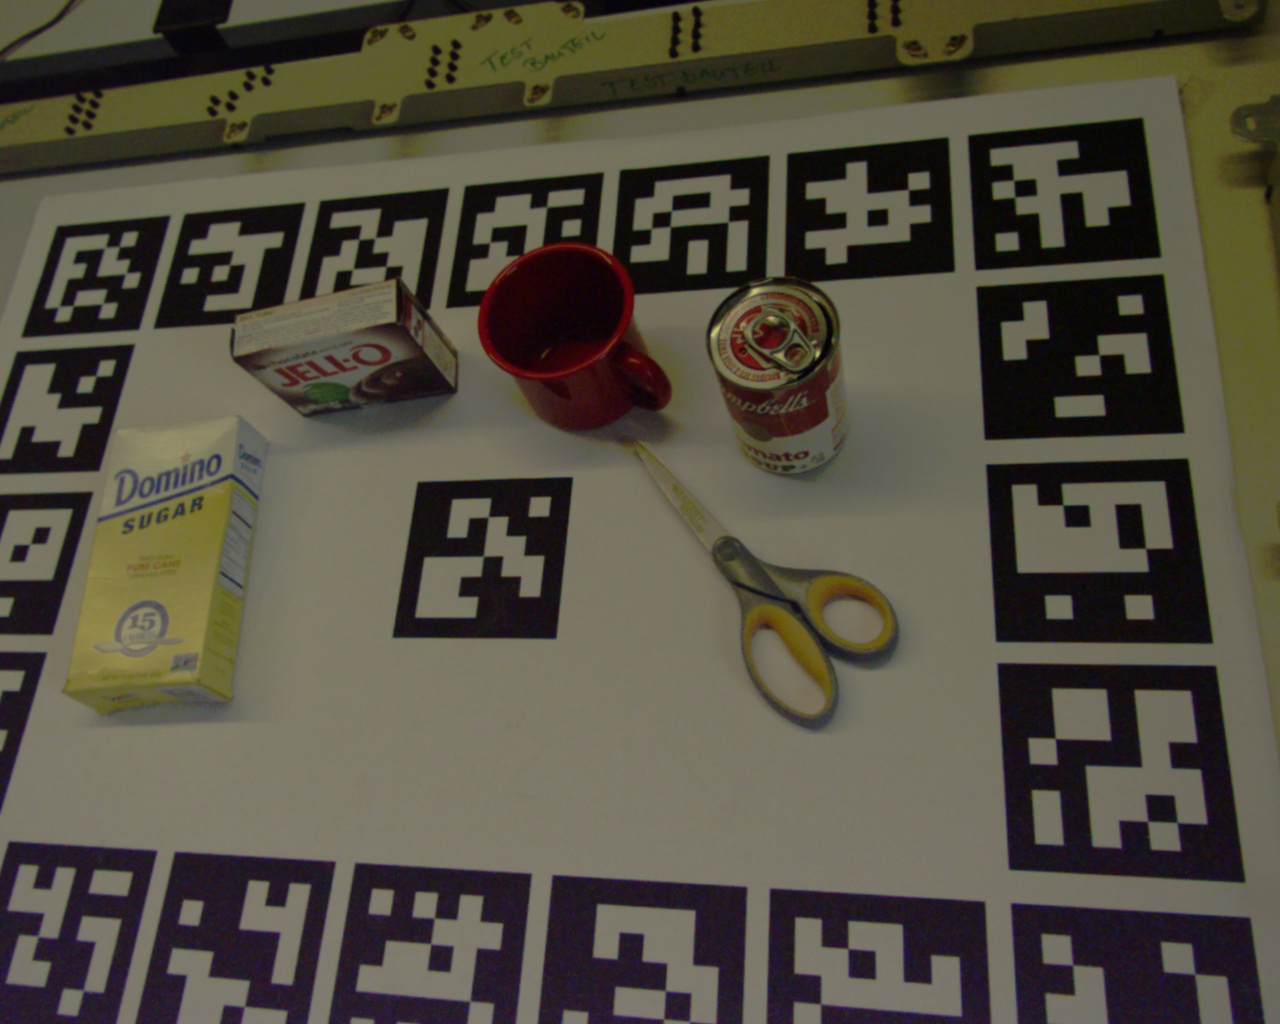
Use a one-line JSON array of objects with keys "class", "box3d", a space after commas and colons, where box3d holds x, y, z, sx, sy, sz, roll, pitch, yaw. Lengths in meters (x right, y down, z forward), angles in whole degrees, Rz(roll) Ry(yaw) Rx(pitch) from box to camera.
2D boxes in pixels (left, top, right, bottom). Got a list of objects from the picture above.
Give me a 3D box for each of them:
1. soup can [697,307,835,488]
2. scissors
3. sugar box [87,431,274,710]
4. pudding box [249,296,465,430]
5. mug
[{"class": "soup can", "box3d": [0.076, -0.063, 0.661, 0.068, 0.101, 0.068, -6, 67, 13]}, {"class": "scissors", "box3d": [0.056, 0.039, 0.663, 0.088, 0.015, 0.205, -45, 66, 5]}, {"class": "sugar box", "box3d": [-0.299, 0.038, 0.748, 0.093, 0.045, 0.177, -5, 69, 15]}, {"class": "pudding box", "box3d": [-0.181, -0.094, 0.737, 0.114, 0.089, 0.039, -11, 74, 10]}, {"class": "mug", "box3d": [-0.034, -0.097, 0.707, 0.093, 0.081, 0.118, -36, 63, 1]}]
